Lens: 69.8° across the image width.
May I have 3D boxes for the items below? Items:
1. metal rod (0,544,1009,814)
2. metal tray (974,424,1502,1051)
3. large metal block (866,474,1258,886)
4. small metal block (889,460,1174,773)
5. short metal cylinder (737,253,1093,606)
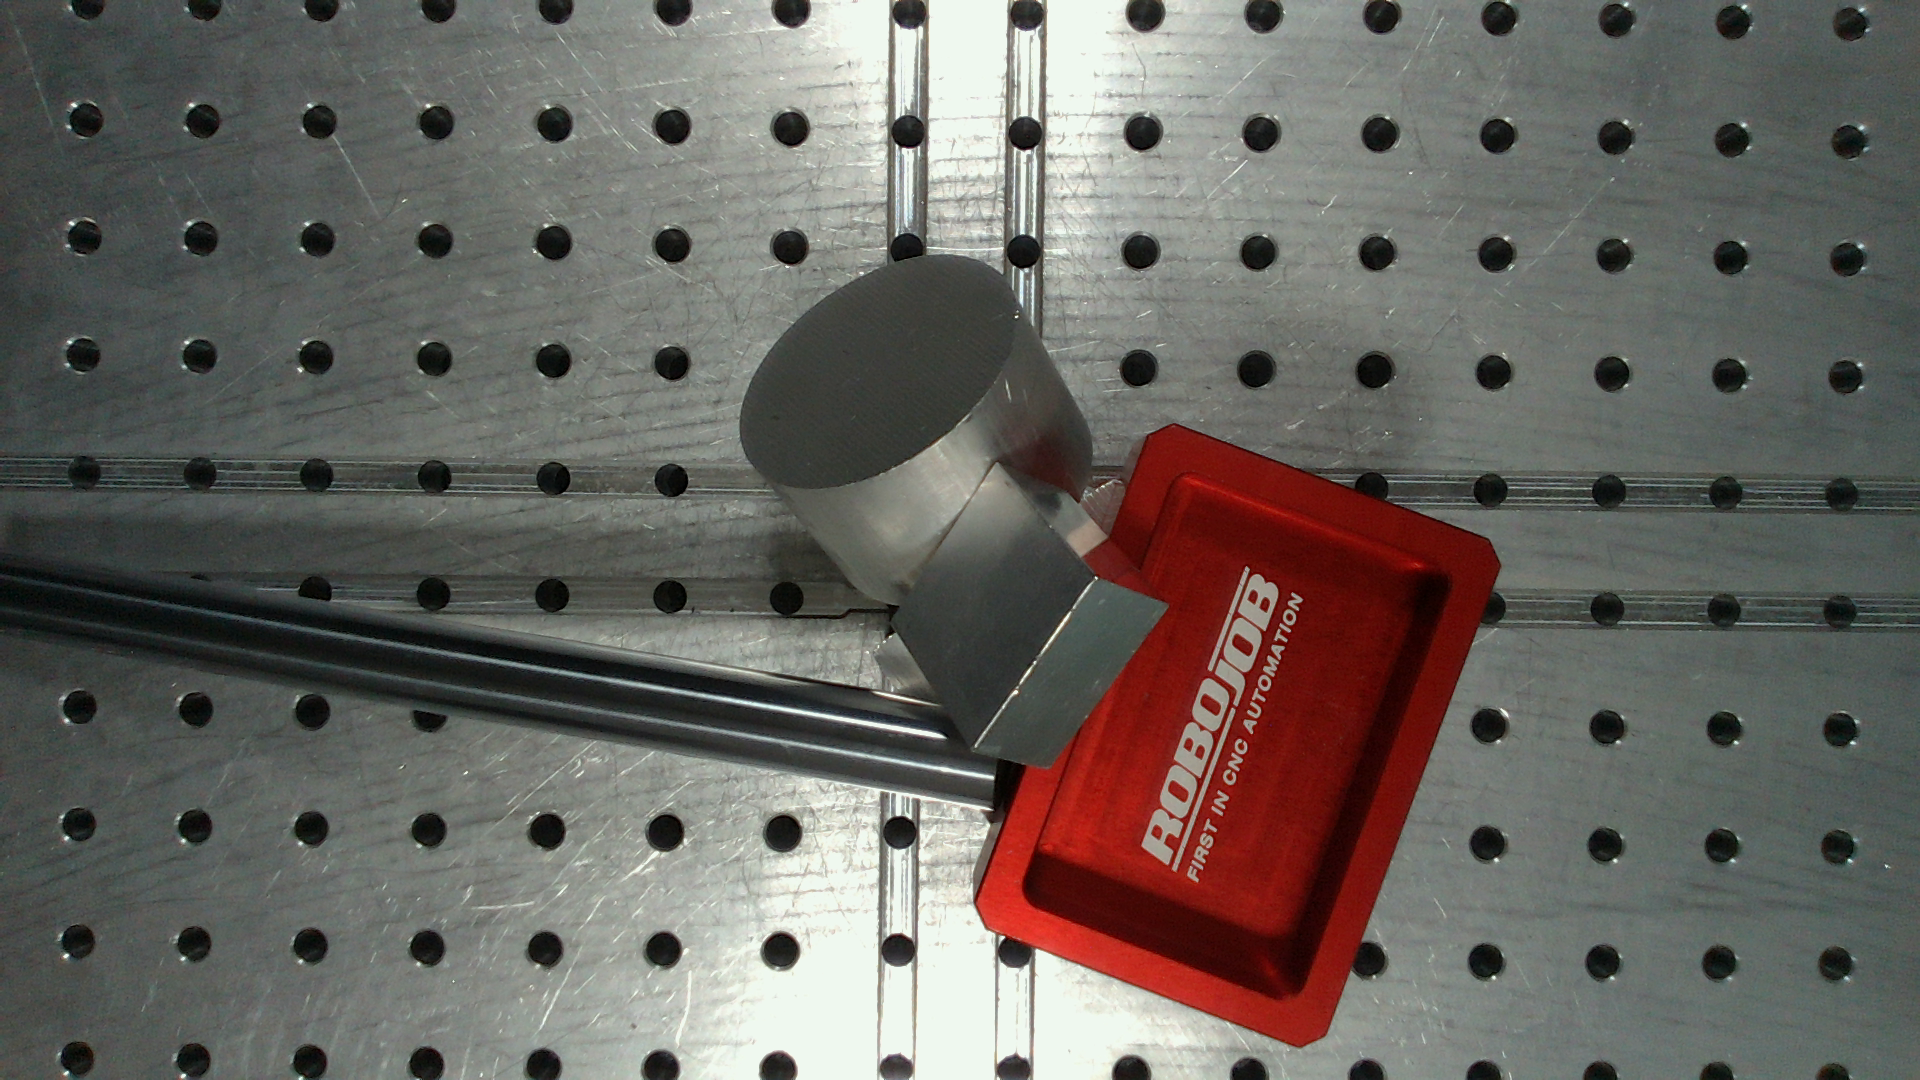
[{"bbox_3d":[-0.135,0.034,0.368,0.299,0.025,0.025,8,90,11],"label":"metal rod"},{"bbox_3d":[0.066,0.047,0.343,0.090,0.030,0.130,20,90,0],"label":"metal tray"},{"bbox_3d":[0.031,0.038,0.384,0.080,0.050,0.080,-35,90,0],"label":"large metal block"},{"bbox_3d":[0.015,0.018,0.325,0.025,0.050,0.050,20,112,-38],"label":"small metal block"},{"bbox_3d":[-0.011,-0.029,0.364,0.080,0.080,0.050,-35,133,0],"label":"short metal cylinder"}]
